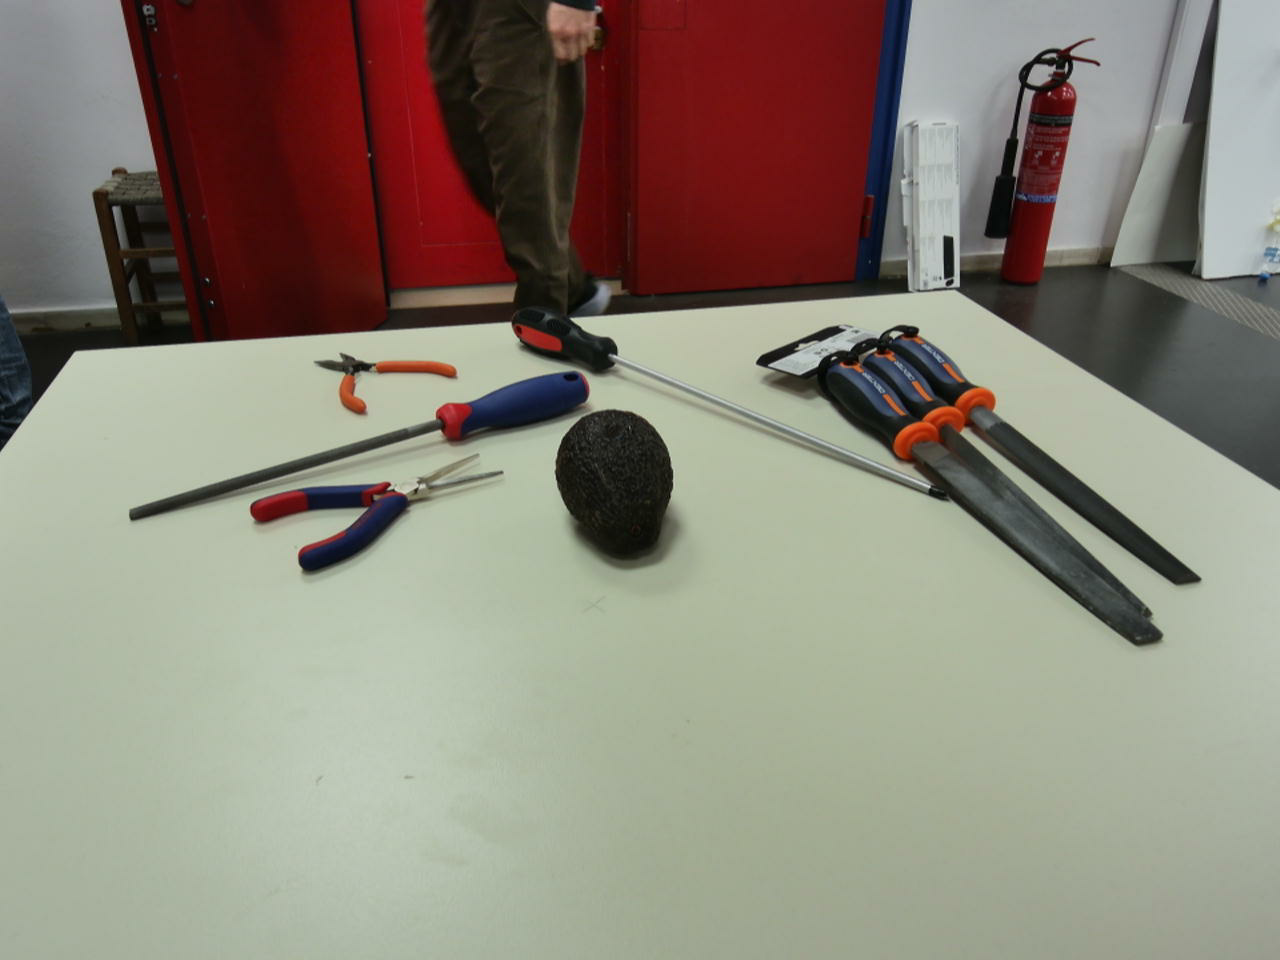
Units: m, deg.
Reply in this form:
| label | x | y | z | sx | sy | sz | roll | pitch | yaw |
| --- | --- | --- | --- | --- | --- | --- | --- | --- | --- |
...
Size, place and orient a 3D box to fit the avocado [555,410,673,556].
| label | x | y | z | sx | sy | sz | roll | pitch | yaw |
| --- | --- | --- | --- | --- | --- | --- | --- | --- | --- |
| avocado | -0.016 | -0.002 | 0.579 | 0.070 | 0.069 | 0.090 | 7 | 27 | 11 |
